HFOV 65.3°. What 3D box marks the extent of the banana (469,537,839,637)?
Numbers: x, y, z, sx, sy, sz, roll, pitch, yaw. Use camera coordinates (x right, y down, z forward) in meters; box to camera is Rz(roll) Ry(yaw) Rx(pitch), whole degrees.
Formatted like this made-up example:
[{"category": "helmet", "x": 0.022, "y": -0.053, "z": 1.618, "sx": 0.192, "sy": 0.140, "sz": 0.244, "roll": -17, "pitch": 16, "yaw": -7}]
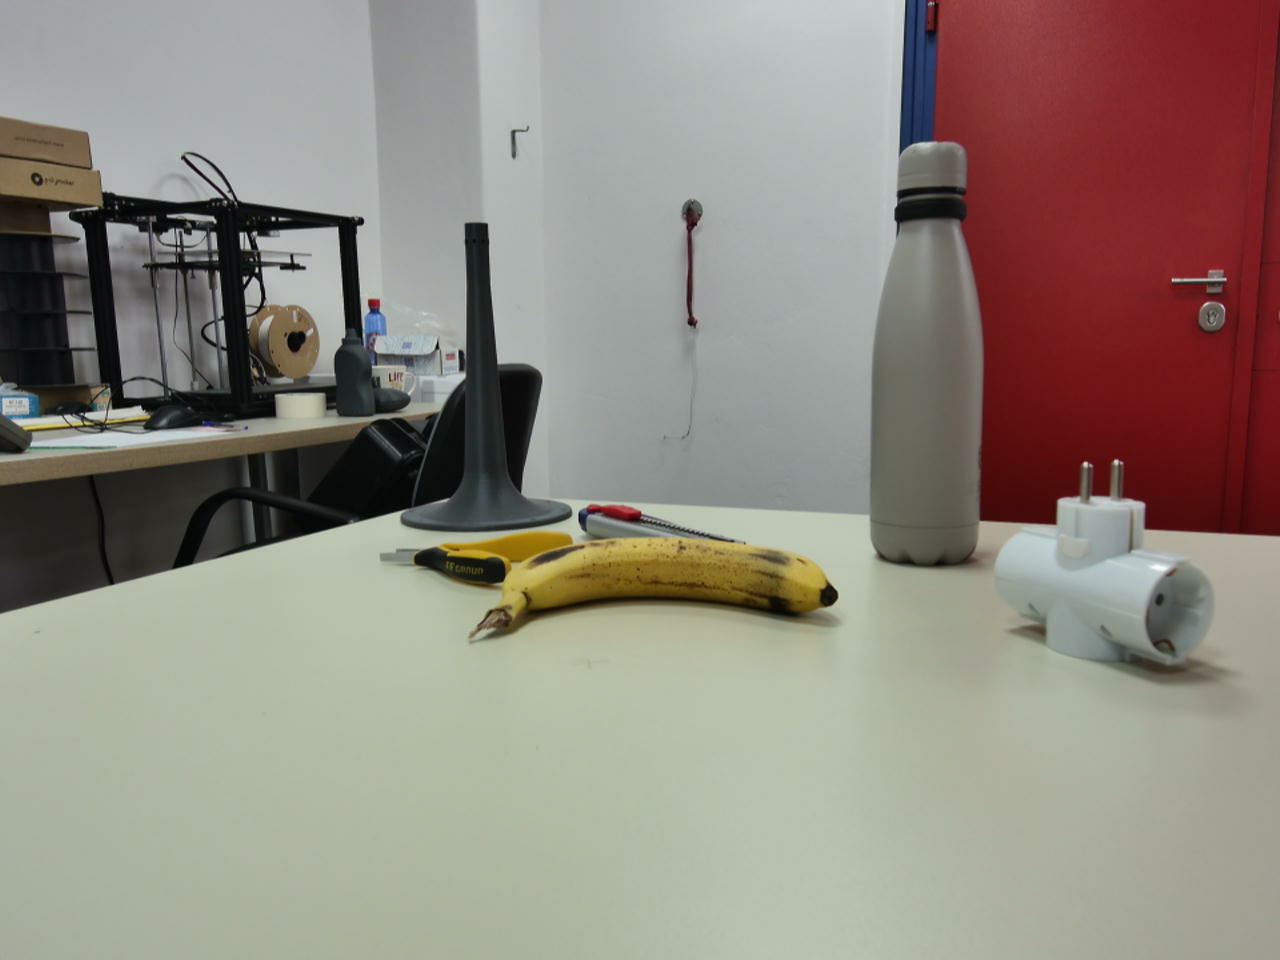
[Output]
[{"category": "banana", "x": 0.008, "y": 0.055, "z": 0.556, "sx": 0.186, "sy": 0.038, "sz": 0.097, "roll": 0, "pitch": 6, "yaw": -4}]
